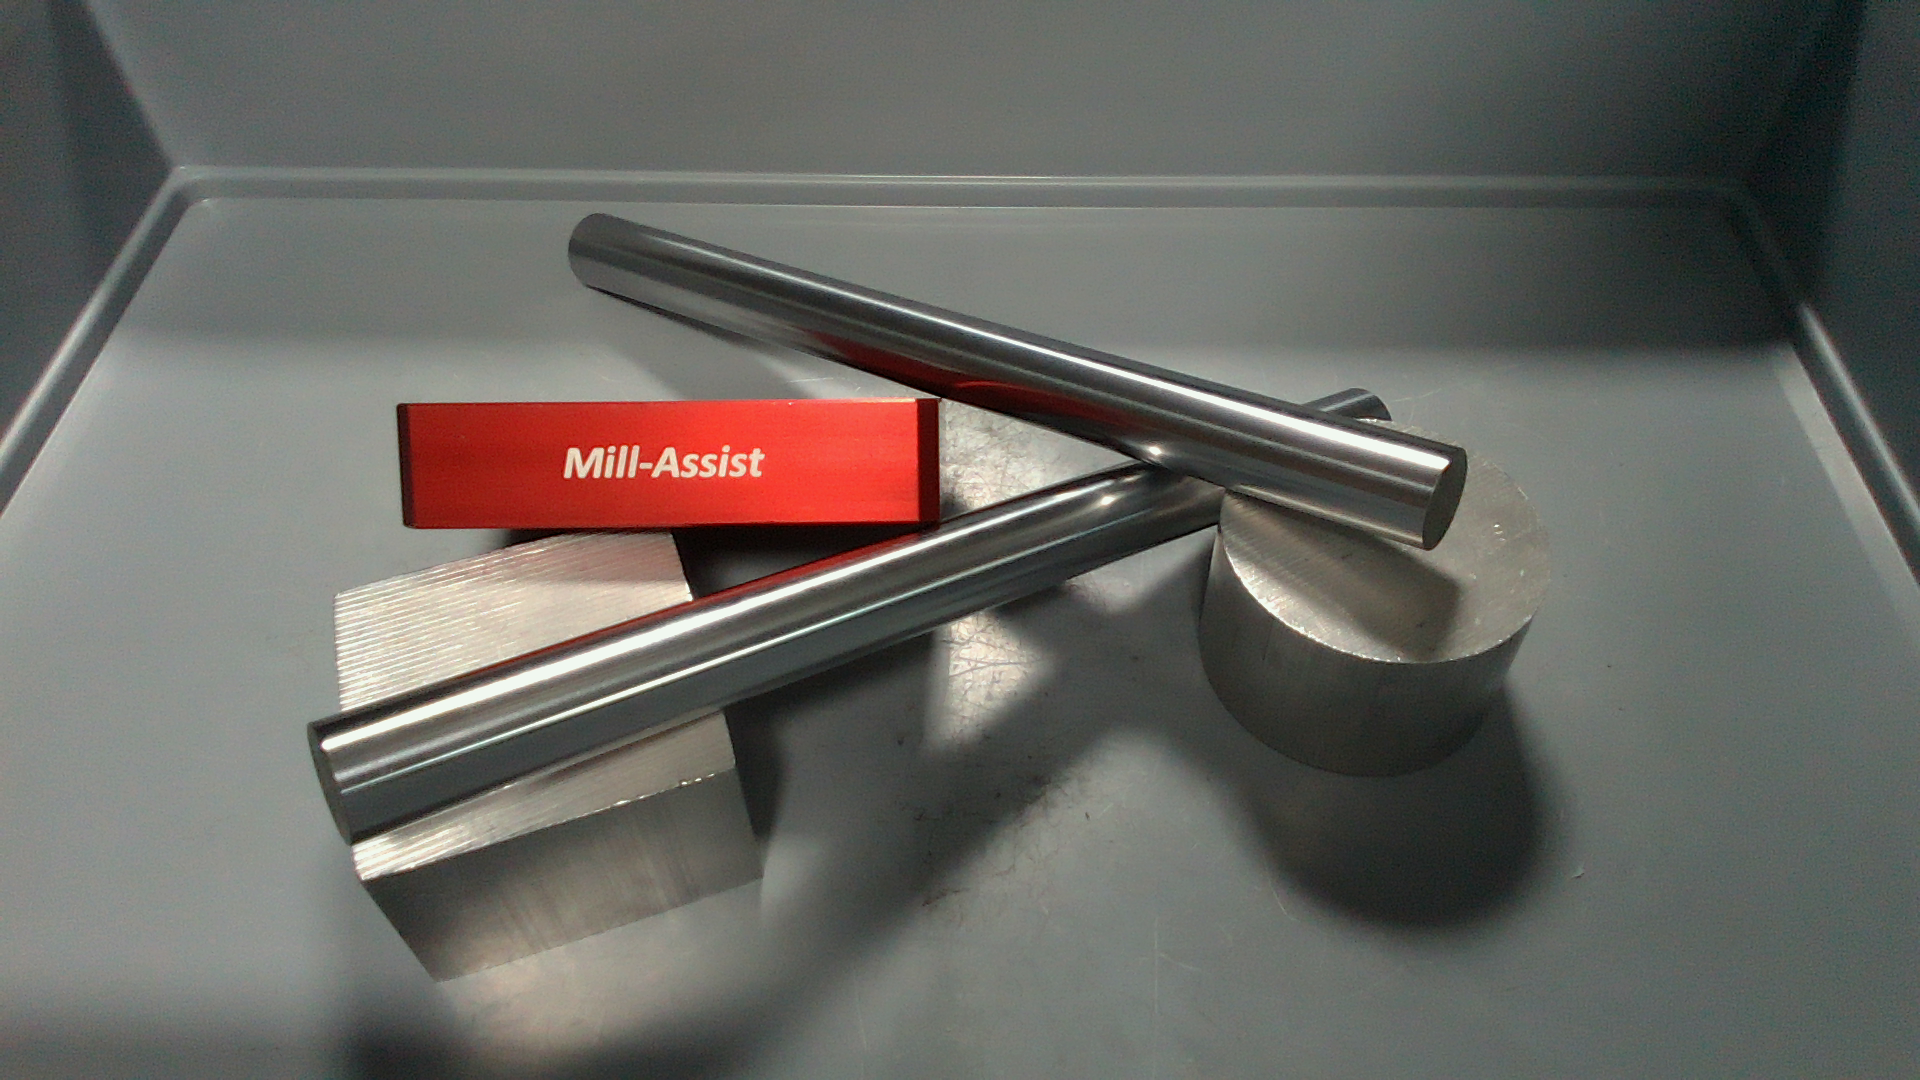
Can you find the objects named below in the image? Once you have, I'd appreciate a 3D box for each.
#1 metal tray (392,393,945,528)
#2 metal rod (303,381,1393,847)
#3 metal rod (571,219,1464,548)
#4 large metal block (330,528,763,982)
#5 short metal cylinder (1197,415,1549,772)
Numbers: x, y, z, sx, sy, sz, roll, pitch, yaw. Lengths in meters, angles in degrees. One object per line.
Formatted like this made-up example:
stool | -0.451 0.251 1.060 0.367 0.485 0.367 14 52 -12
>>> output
metal tray | -0.070 -0.023 0.370 0.130 0.030 0.090 -1 6 1
metal rod | 0.002 0.005 0.338 0.301 0.025 0.025 -19 51 -32
metal rod | -0.007 -0.055 0.398 0.299 0.025 0.025 21 52 32
large metal block | -0.099 0.047 0.330 0.080 0.050 0.080 -15 51 -12
short metal cylinder | 0.105 0.013 0.361 0.080 0.050 0.080 0 50 0
